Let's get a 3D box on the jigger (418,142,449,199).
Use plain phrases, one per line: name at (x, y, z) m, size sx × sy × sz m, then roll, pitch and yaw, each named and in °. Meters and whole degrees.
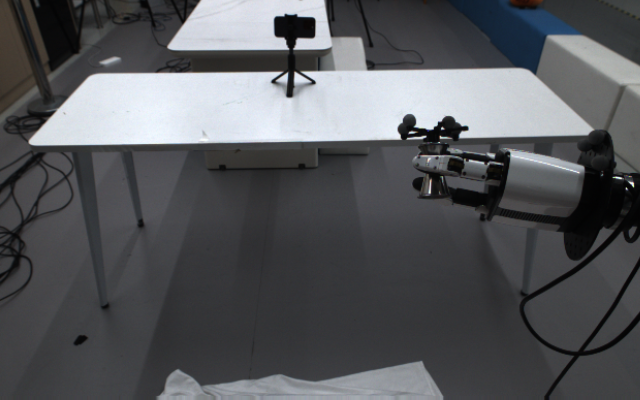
jigger at (0.146, -0.038, 0.625) m, size 0.043 × 0.071 × 0.043 m, roll 1°, pitch -5°, yaw 0°
